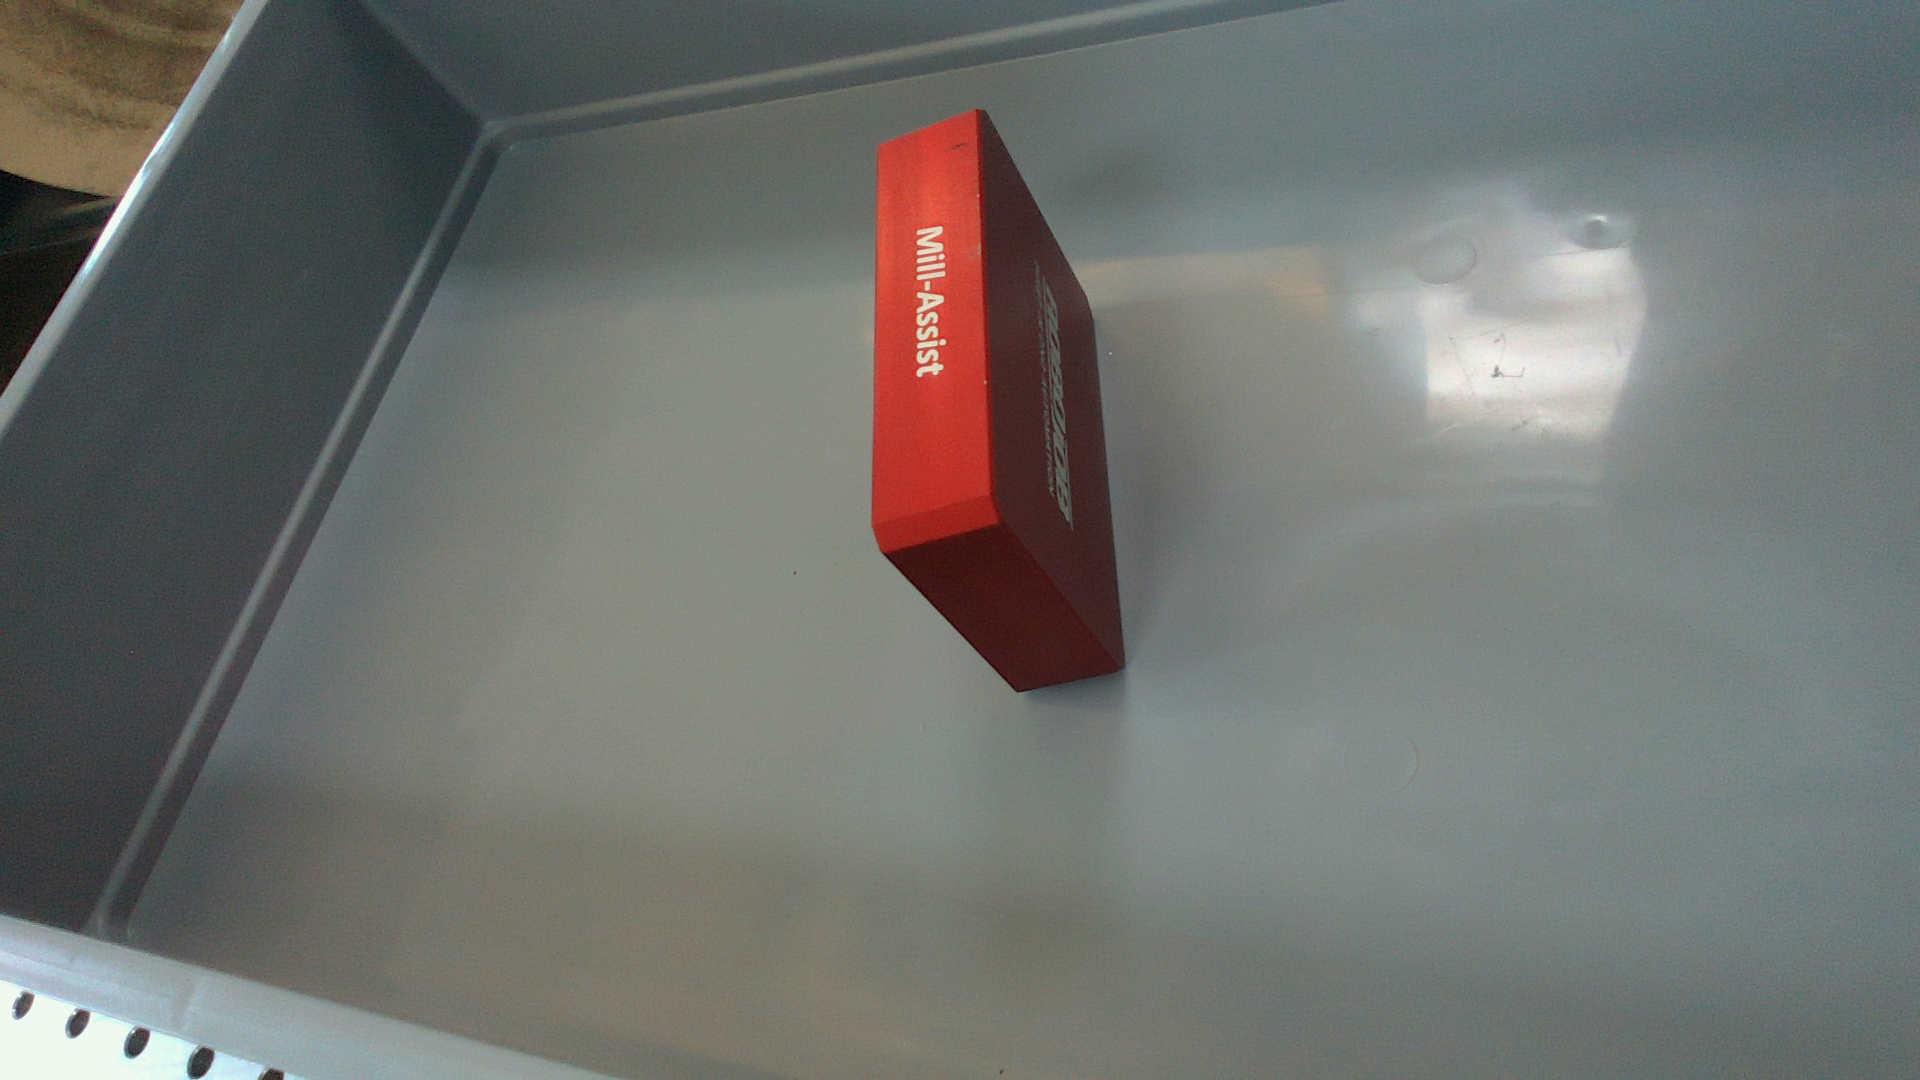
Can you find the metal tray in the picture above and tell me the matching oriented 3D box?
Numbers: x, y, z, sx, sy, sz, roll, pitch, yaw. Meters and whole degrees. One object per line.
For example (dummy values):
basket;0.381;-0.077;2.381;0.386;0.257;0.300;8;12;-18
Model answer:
metal tray;0.011;-0.037;0.366;0.030;0.090;0.130;-14;56;20
